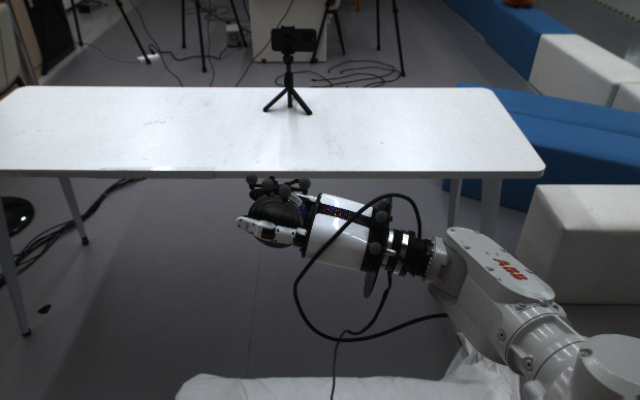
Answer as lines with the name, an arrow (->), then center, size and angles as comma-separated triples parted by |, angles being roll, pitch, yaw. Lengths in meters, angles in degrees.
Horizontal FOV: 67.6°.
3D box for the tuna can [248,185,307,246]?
tuna can -> -0.061, 0.027, 0.722 | 0.085, 0.085, 0.034 | 9, 23, 9
